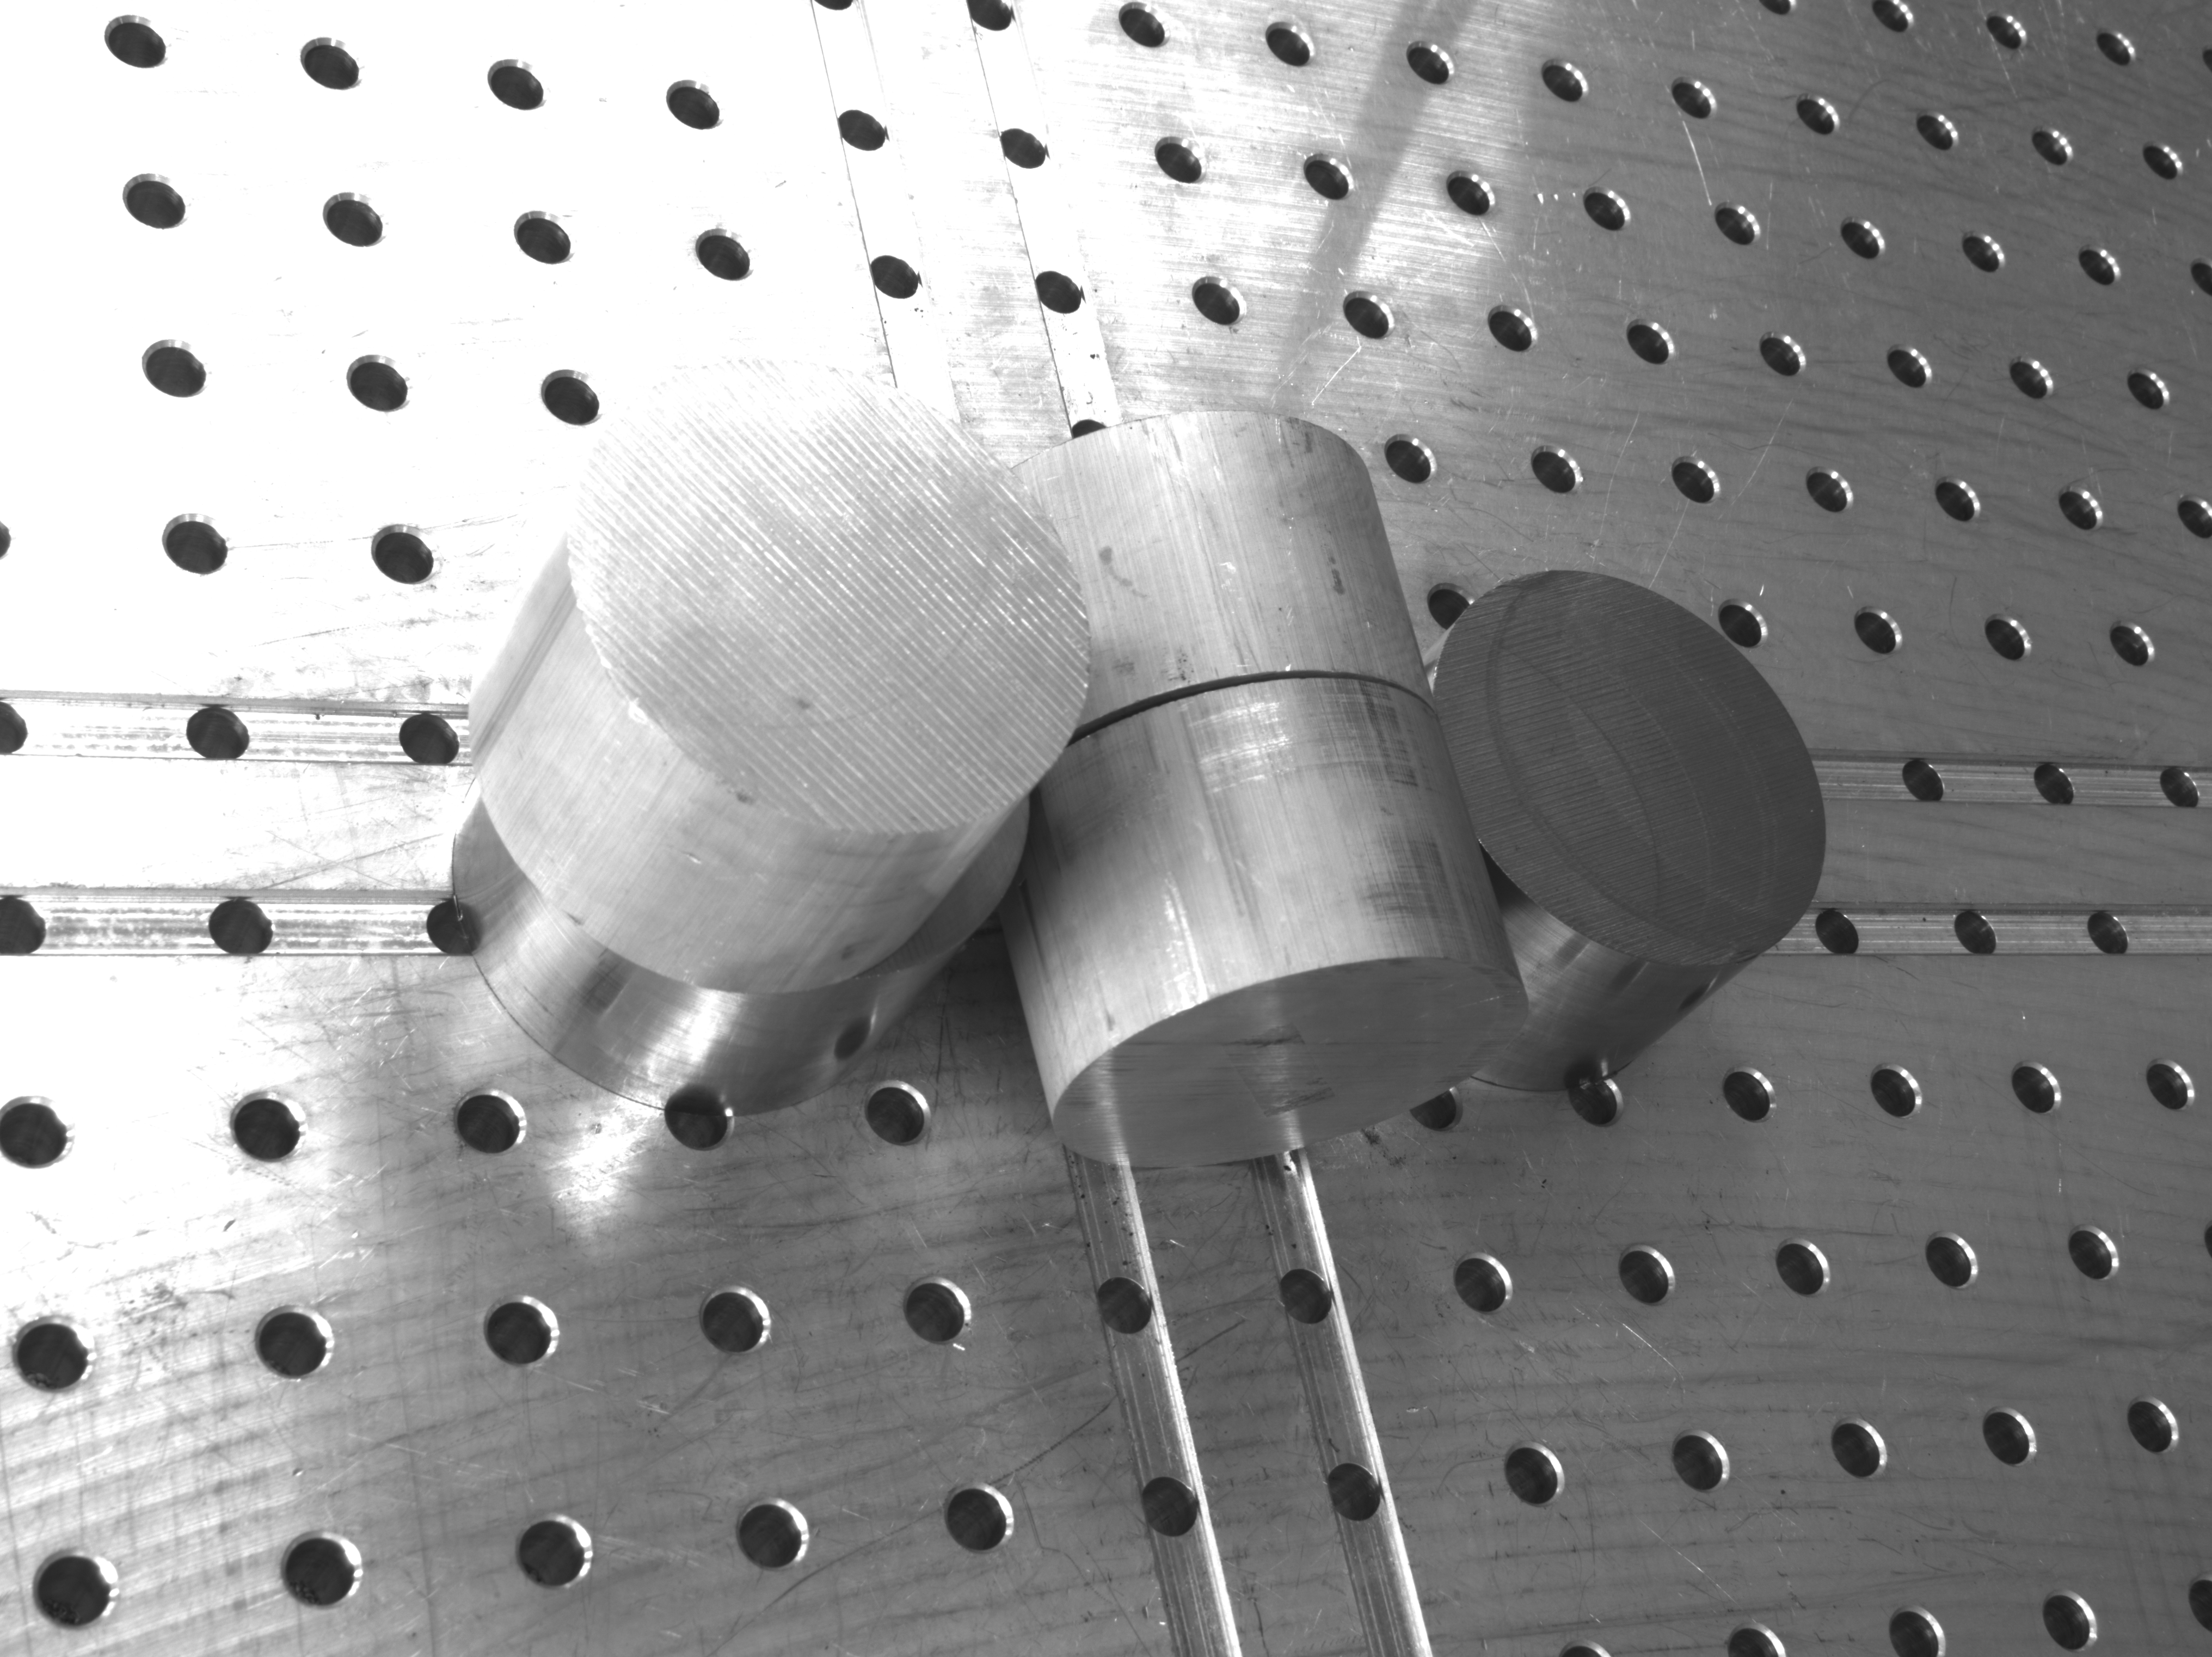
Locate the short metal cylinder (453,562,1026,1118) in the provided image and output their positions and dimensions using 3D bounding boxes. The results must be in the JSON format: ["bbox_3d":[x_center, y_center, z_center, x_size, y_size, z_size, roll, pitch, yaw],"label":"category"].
[{"bbox_3d":[-0.059,0.000,0.595,0.080,0.050,0.080,14,56,-21],"label":"short metal cylinder"}]

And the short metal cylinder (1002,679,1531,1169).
[{"bbox_3d":[0.025,0.017,0.610,0.080,0.080,0.050,-1,62,-29],"label":"short metal cylinder"}]

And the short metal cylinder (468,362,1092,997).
[{"bbox_3d":[-0.049,-0.022,0.548,0.080,0.050,0.080,13,56,-21],"label":"short metal cylinder"}]

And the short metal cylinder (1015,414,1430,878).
[{"bbox_3d":[0.012,-0.028,0.632,0.080,0.080,0.050,1,62,-28],"label":"short metal cylinder"}]

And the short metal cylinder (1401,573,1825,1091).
[{"bbox_3d":[0.083,0.001,0.670,0.080,0.050,0.080,14,56,-21],"label":"short metal cylinder"}]
